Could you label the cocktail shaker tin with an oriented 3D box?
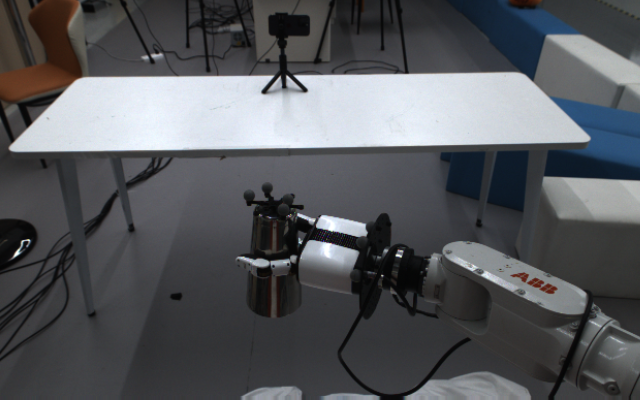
[{"bbox_3d":[-0.072,0.090,0.769,0.093,0.170,0.093,2,26,-1],"label":"cocktail shaker tin"}]
